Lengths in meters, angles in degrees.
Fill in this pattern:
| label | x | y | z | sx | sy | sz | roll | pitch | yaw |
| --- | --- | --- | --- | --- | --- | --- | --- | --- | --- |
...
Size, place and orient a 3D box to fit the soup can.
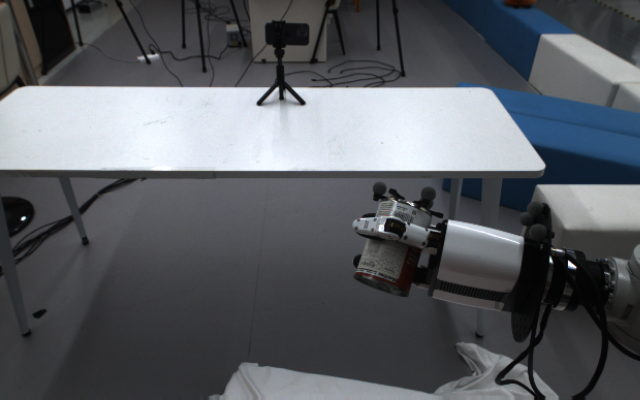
| label | x | y | z | sx | sy | sz | roll | pitch | yaw |
| --- | --- | --- | --- | --- | --- | --- | --- | --- | --- |
| soup can | 0.091 | 0.056 | 0.581 | 0.067 | 0.067 | 0.101 | 15 | 75 | 18 |
